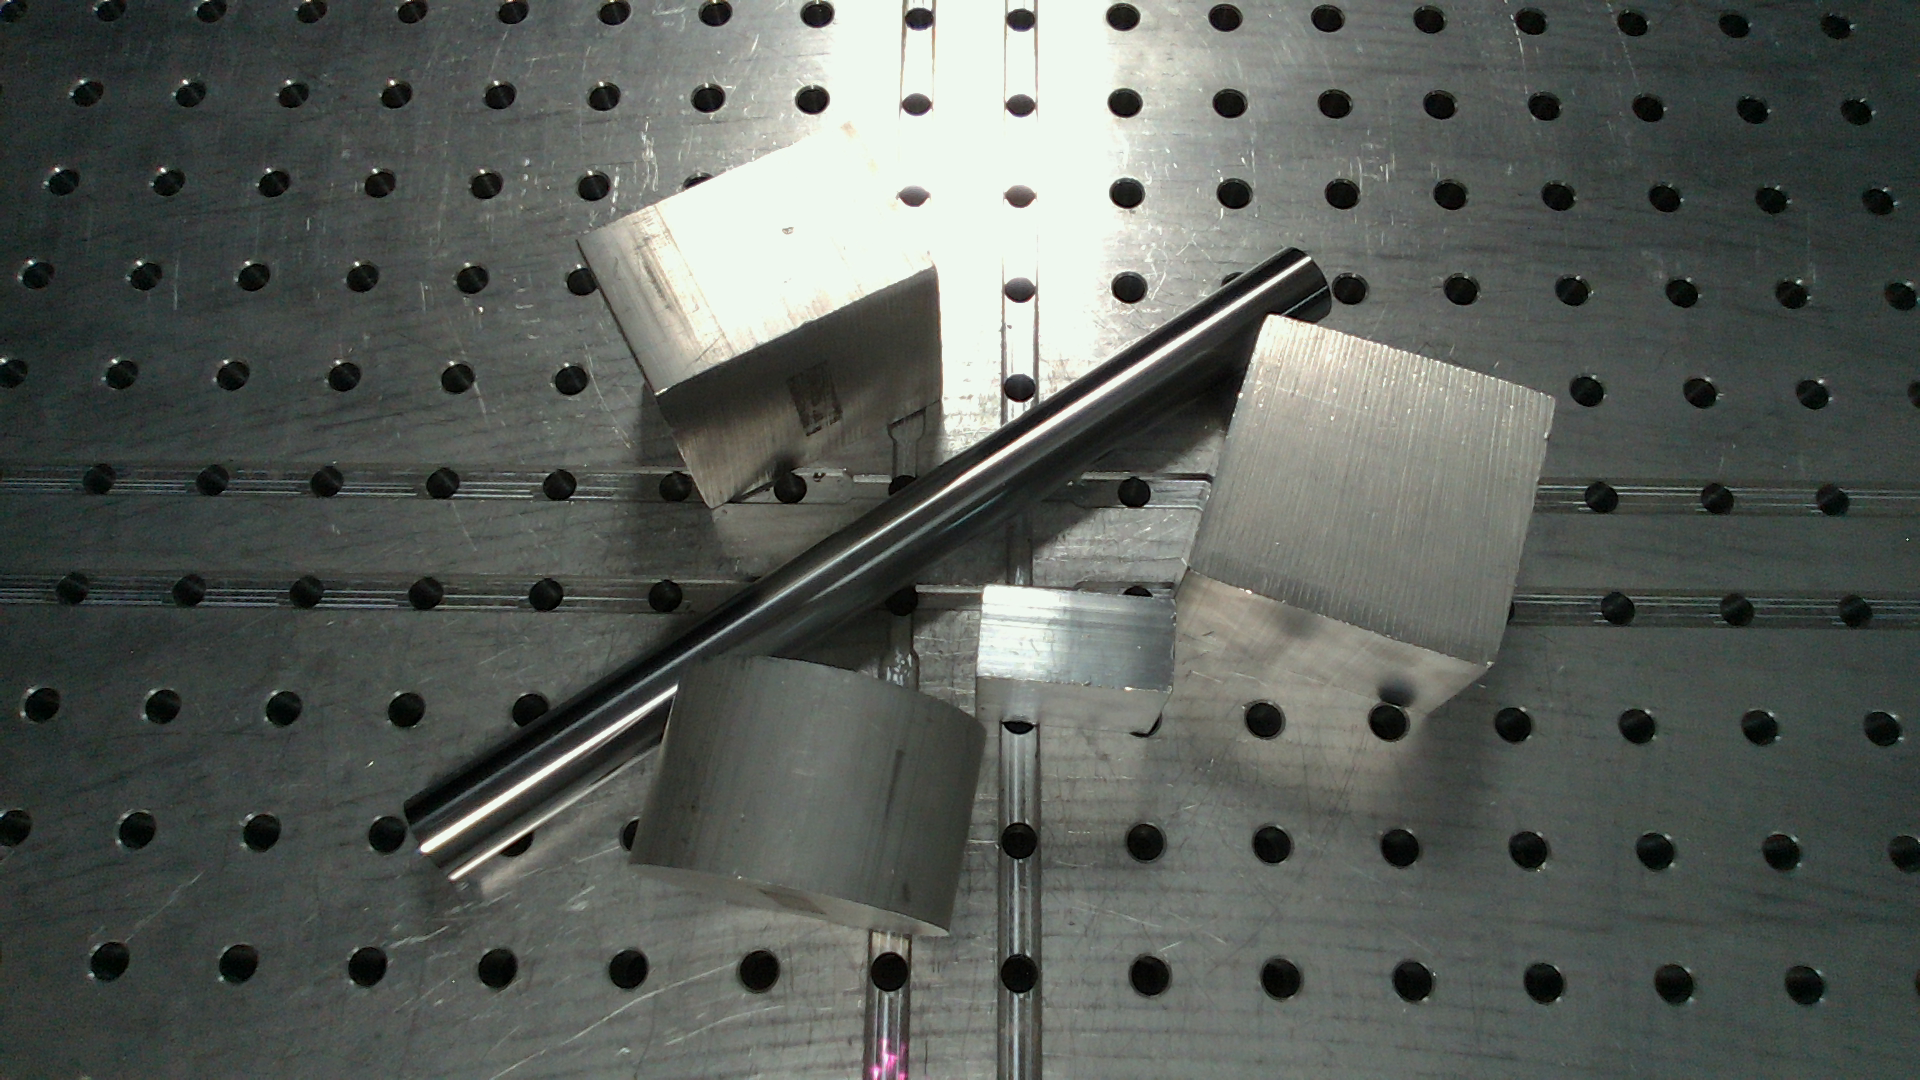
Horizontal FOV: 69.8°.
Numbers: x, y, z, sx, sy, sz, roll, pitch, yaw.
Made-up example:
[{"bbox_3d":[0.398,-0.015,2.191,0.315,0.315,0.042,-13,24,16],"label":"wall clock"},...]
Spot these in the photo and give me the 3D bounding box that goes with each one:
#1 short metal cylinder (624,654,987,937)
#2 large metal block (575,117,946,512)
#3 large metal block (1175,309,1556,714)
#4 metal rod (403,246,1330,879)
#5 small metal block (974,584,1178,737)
[{"bbox_3d":[-0.037,0.065,0.343,0.080,0.080,0.050,11,70,4],"label":"short metal cylinder"},{"bbox_3d":[-0.052,-0.061,0.391,0.080,0.080,0.050,-27,72,-9],"label":"large metal block"},{"bbox_3d":[0.109,-0.007,0.384,0.080,0.050,0.080,18,71,7],"label":"large metal block"},{"bbox_3d":[-0.018,0.000,0.396,0.300,0.025,0.025,-33,73,-11],"label":"metal rod"},{"bbox_3d":[0.030,0.034,0.372,0.050,0.050,0.025,5,70,2],"label":"small metal block"}]
